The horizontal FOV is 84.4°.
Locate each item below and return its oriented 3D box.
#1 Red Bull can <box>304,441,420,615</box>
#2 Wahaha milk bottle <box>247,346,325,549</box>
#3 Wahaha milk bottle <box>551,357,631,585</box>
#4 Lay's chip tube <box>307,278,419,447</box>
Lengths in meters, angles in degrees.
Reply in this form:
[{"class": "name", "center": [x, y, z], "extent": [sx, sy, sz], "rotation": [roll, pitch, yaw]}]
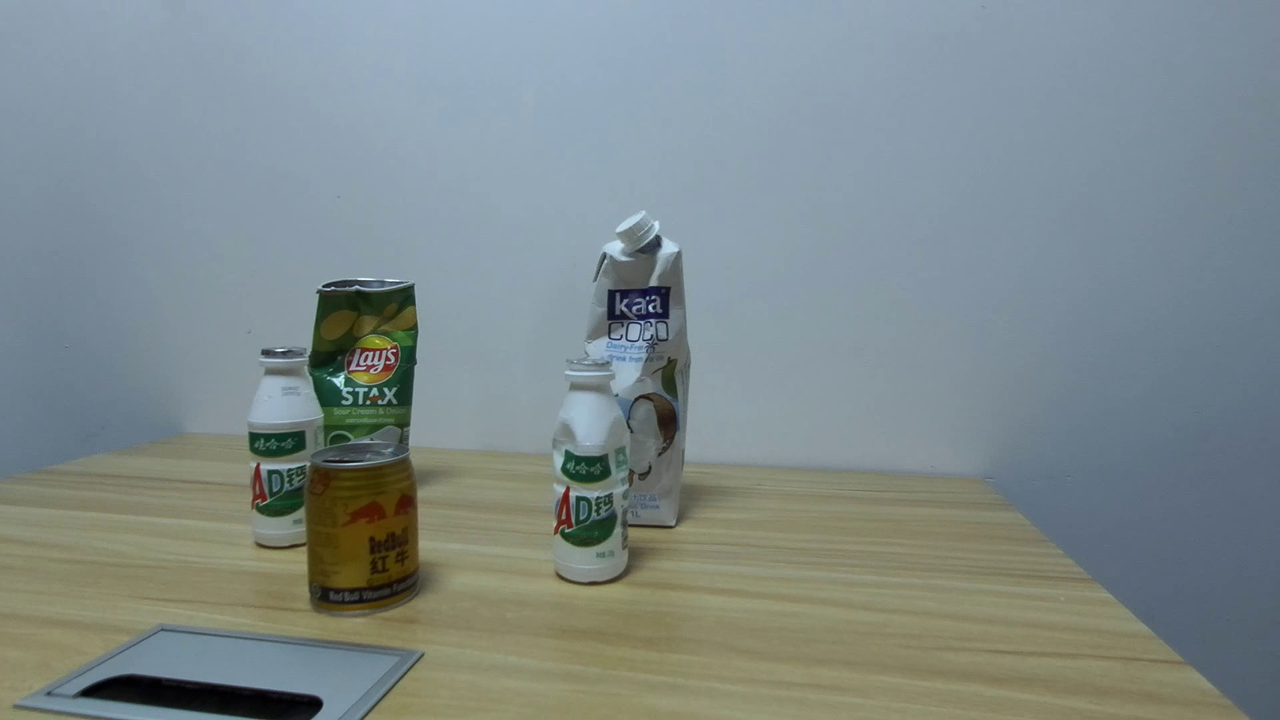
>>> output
[{"class": "Red Bull can", "center": [-0.173, 0.103, 0.441], "extent": [0.067, 0.093, 0.067], "rotation": [1, 7, 0]}, {"class": "Wahaha milk bottle", "center": [-0.266, 0.064, 0.531], "extent": [0.053, 0.147, 0.053], "rotation": [-1, 4, 0]}, {"class": "Wahaha milk bottle", "center": [-0.035, 0.073, 0.478], "extent": [0.055, 0.149, 0.055], "rotation": [0, 7, 0]}, {"class": "Lay's chip tube", "center": [-0.254, 0.026, 0.654], "extent": [0.069, 0.201, 0.077], "rotation": [6, 11, 35]}]
